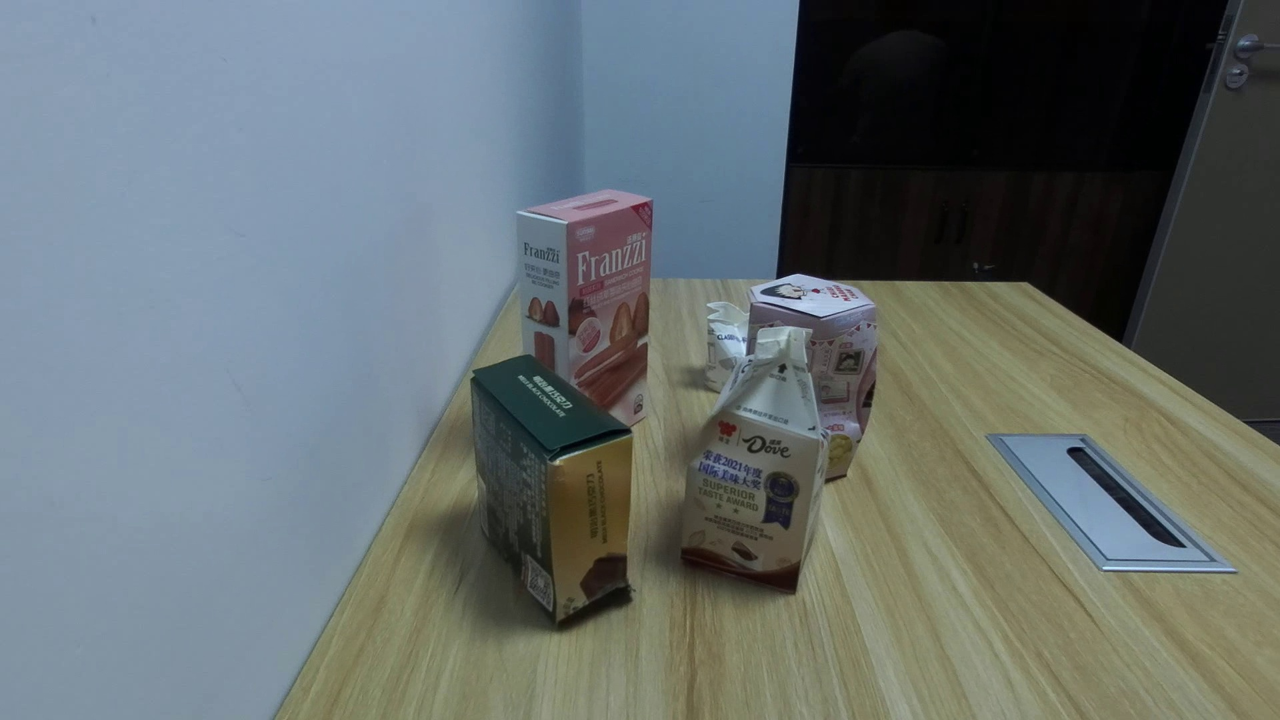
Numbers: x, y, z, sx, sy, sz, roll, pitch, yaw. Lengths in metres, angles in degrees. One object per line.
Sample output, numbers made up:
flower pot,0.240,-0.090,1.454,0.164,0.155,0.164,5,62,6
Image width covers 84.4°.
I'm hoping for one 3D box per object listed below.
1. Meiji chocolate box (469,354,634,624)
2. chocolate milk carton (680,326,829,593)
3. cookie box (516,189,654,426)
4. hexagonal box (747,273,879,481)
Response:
Meiji chocolate box,-0.054,0.072,0.409,0.059,0.116,0.122,-13,26,-30
chocolate milk carton,0.073,0.046,0.409,0.073,0.155,0.076,11,26,19
cookie box,-0.038,-0.025,0.528,0.048,0.185,0.096,20,31,32
hexagonal box,0.114,0.016,0.499,0.093,0.135,0.088,-16,30,-31
